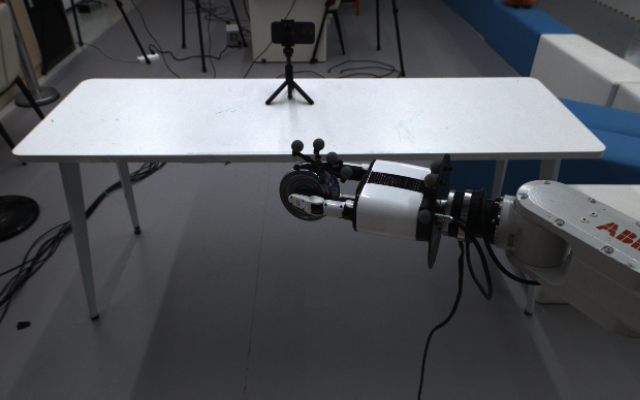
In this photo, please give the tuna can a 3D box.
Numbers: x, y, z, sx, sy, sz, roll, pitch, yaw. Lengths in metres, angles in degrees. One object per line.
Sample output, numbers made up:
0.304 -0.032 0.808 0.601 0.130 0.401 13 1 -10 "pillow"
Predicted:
-0.015 -0.013 0.714 0.085 0.085 0.034 15 31 18 "tuna can"
